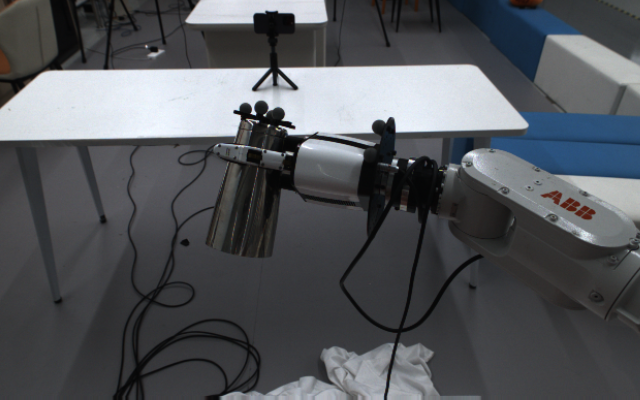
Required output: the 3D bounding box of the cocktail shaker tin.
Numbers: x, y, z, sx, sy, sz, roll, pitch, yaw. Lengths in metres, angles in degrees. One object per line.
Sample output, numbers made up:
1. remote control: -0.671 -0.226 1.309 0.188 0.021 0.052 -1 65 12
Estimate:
1. cocktail shaker tin: -0.092 -0.018 0.656 0.093 0.170 0.093 13 3 -1
